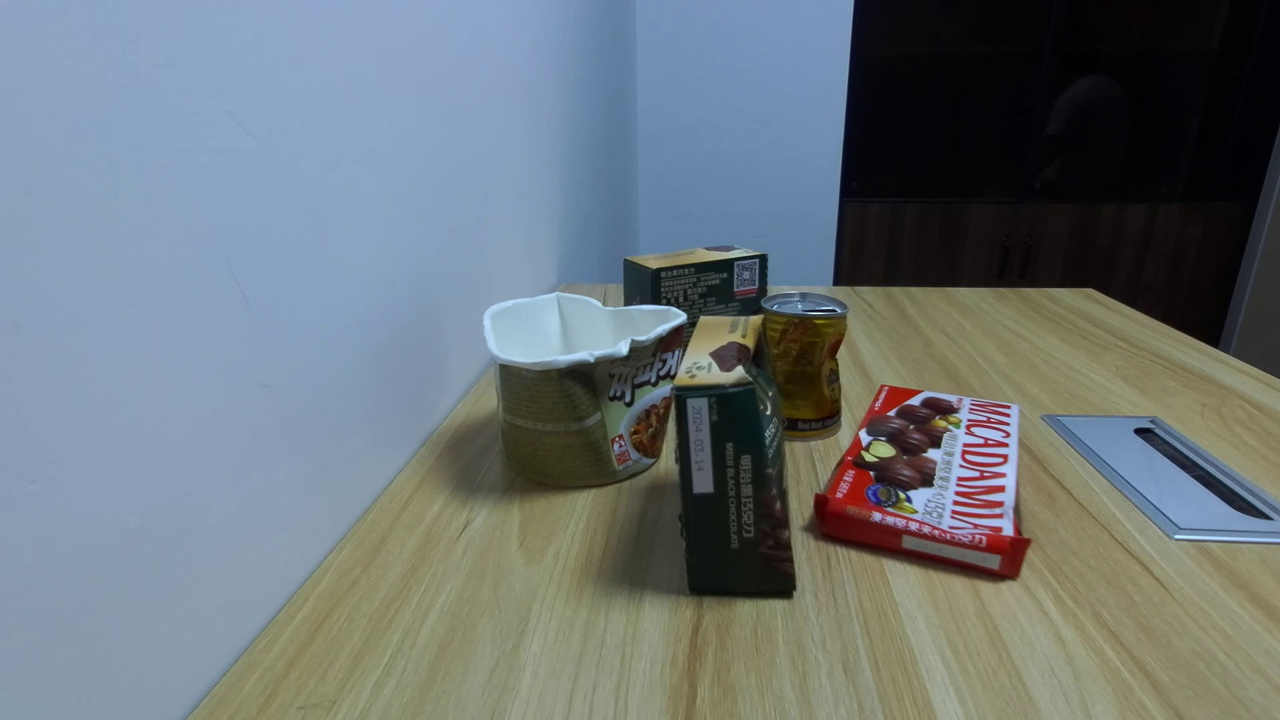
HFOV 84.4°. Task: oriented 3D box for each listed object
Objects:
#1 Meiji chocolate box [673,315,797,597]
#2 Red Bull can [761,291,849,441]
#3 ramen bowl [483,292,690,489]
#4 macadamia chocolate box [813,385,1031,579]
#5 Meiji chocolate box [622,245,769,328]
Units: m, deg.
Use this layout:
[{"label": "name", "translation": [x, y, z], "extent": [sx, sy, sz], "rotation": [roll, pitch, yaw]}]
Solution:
[{"label": "Meiji chocolate box", "translation": [0.050, 0.043, 0.369], "extent": [0.051, 0.117, 0.117], "rotation": [-5, 18, 11]}, {"label": "Red Bull can", "translation": [0.114, 0.003, 0.503], "extent": [0.072, 0.092, 0.072], "rotation": [-1, 21, 1]}, {"label": "ramen bowl", "translation": [-0.044, 0.018, 0.461], "extent": [0.113, 0.097, 0.134], "rotation": [12, 23, 28]}, {"label": "macadamia chocolate box", "translation": [0.179, 0.064, 0.433], "extent": [0.105, 0.028, 0.183], "rotation": [9, 23, 25]}, {"label": "Meiji chocolate box", "translation": [0.048, -0.035, 0.587], "extent": [0.113, 0.111, 0.058], "rotation": [-11, 21, -24]}]
